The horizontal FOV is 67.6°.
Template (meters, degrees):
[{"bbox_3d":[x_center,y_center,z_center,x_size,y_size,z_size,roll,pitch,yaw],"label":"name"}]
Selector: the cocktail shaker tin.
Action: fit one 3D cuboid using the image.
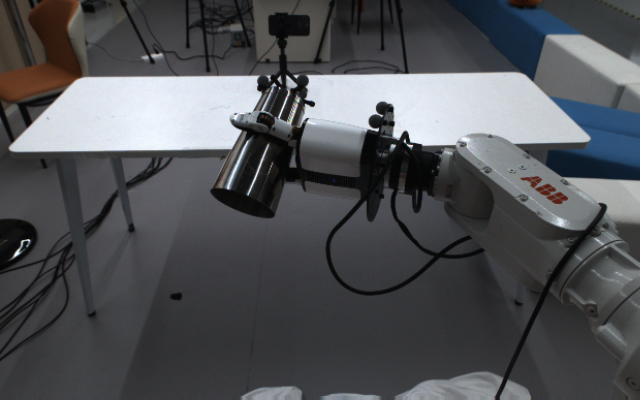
[{"bbox_3d":[-0.079,-0.071,0.679,0.093,0.093,0.170,13,70,15],"label":"cocktail shaker tin"}]
